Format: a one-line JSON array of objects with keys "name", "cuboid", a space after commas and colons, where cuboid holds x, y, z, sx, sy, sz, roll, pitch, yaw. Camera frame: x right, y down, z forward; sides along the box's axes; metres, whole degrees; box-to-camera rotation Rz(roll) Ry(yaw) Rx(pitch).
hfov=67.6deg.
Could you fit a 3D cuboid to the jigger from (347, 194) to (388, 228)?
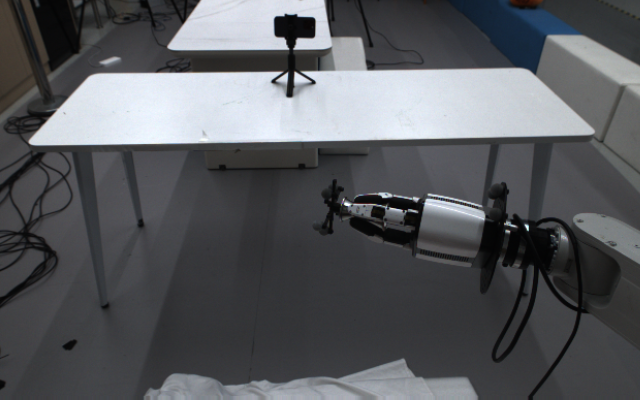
[{"name": "jigger", "cuboid": [0.073, 0.015, 0.726, 0.071, 0.043, 0.043, 10, 35, 16]}]
